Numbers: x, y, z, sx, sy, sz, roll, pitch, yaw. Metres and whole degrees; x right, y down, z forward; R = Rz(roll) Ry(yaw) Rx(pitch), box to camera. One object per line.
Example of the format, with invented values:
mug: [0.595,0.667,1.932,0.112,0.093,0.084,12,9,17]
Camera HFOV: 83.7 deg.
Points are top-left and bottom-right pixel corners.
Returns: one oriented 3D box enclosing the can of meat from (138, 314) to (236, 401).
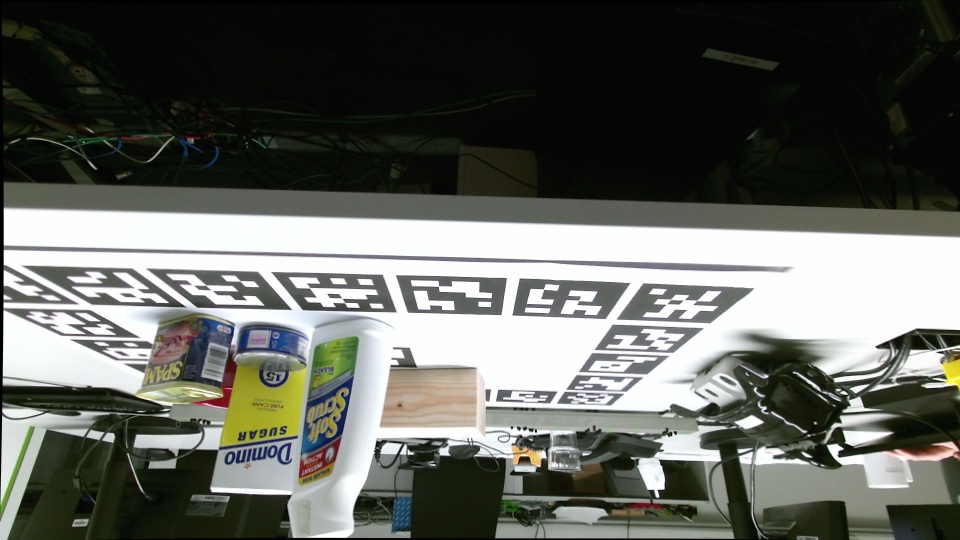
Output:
can of meat: [-0.335,0.102,0.618,0.102,0.083,0.058,-12,153,27]

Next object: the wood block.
wood block: [-0.098,0.210,0.812,0.207,0.089,0.091,-2,148,8]

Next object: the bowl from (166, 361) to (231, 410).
bowl: [-0.356,0.170,0.773,0.162,0.055,0.162,-3,153,-1]

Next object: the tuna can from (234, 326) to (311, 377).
tuna can: [-0.249,0.100,0.651,0.086,0.033,0.086,0,150,0]

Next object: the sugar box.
sugar box: [-0.275,0.190,0.673,0.093,0.175,0.045,8,150,-22]

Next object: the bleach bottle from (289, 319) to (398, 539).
bleach bottle: [-0.150,0.184,0.584,0.103,0.249,0.068,-11,151,22]
